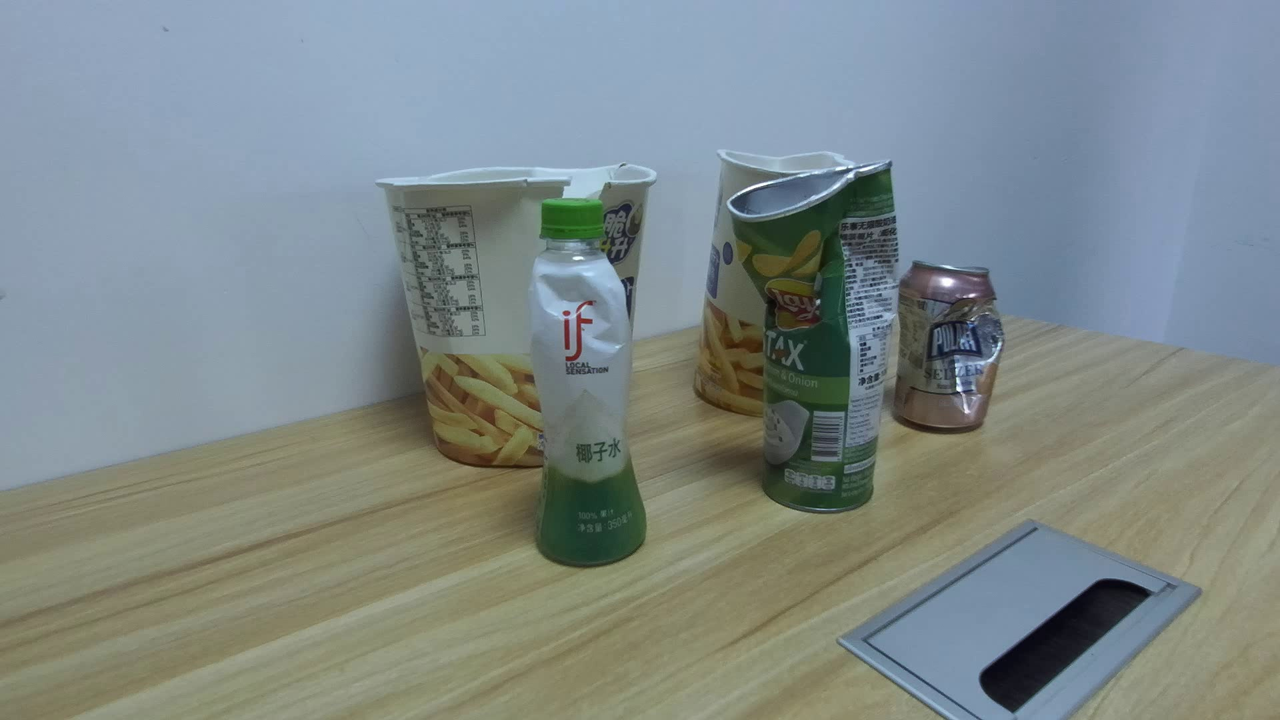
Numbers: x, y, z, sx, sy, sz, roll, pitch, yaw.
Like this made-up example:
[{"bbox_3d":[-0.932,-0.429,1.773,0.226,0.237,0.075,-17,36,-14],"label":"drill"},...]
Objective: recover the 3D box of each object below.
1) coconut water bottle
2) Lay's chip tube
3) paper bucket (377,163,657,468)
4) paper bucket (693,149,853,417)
[{"bbox_3d":[-0.029,0.012,0.373,0.067,0.187,0.067,-1,16,1],"label":"coconut water bottle"},{"bbox_3d":[0.100,-0.008,0.406,0.071,0.199,0.078,-29,30,-37],"label":"Lay's chip tube"},{"bbox_3d":[-0.086,-0.039,0.519,0.202,0.197,0.146,1,20,10],"label":"paper bucket"},{"bbox_3d":[0.120,-0.070,0.603,0.148,0.199,0.217,-7,17,-19],"label":"paper bucket"}]
